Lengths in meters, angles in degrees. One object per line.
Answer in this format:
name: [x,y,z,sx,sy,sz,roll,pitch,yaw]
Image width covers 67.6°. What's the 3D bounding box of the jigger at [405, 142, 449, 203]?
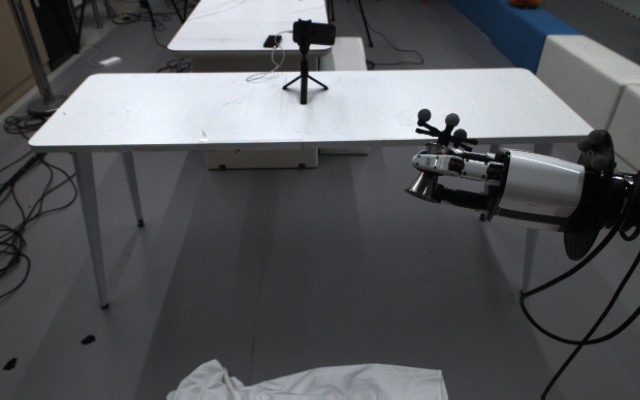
jigger: [0.140,-0.037,0.621,0.043,0.071,0.043,25,-3,1]
